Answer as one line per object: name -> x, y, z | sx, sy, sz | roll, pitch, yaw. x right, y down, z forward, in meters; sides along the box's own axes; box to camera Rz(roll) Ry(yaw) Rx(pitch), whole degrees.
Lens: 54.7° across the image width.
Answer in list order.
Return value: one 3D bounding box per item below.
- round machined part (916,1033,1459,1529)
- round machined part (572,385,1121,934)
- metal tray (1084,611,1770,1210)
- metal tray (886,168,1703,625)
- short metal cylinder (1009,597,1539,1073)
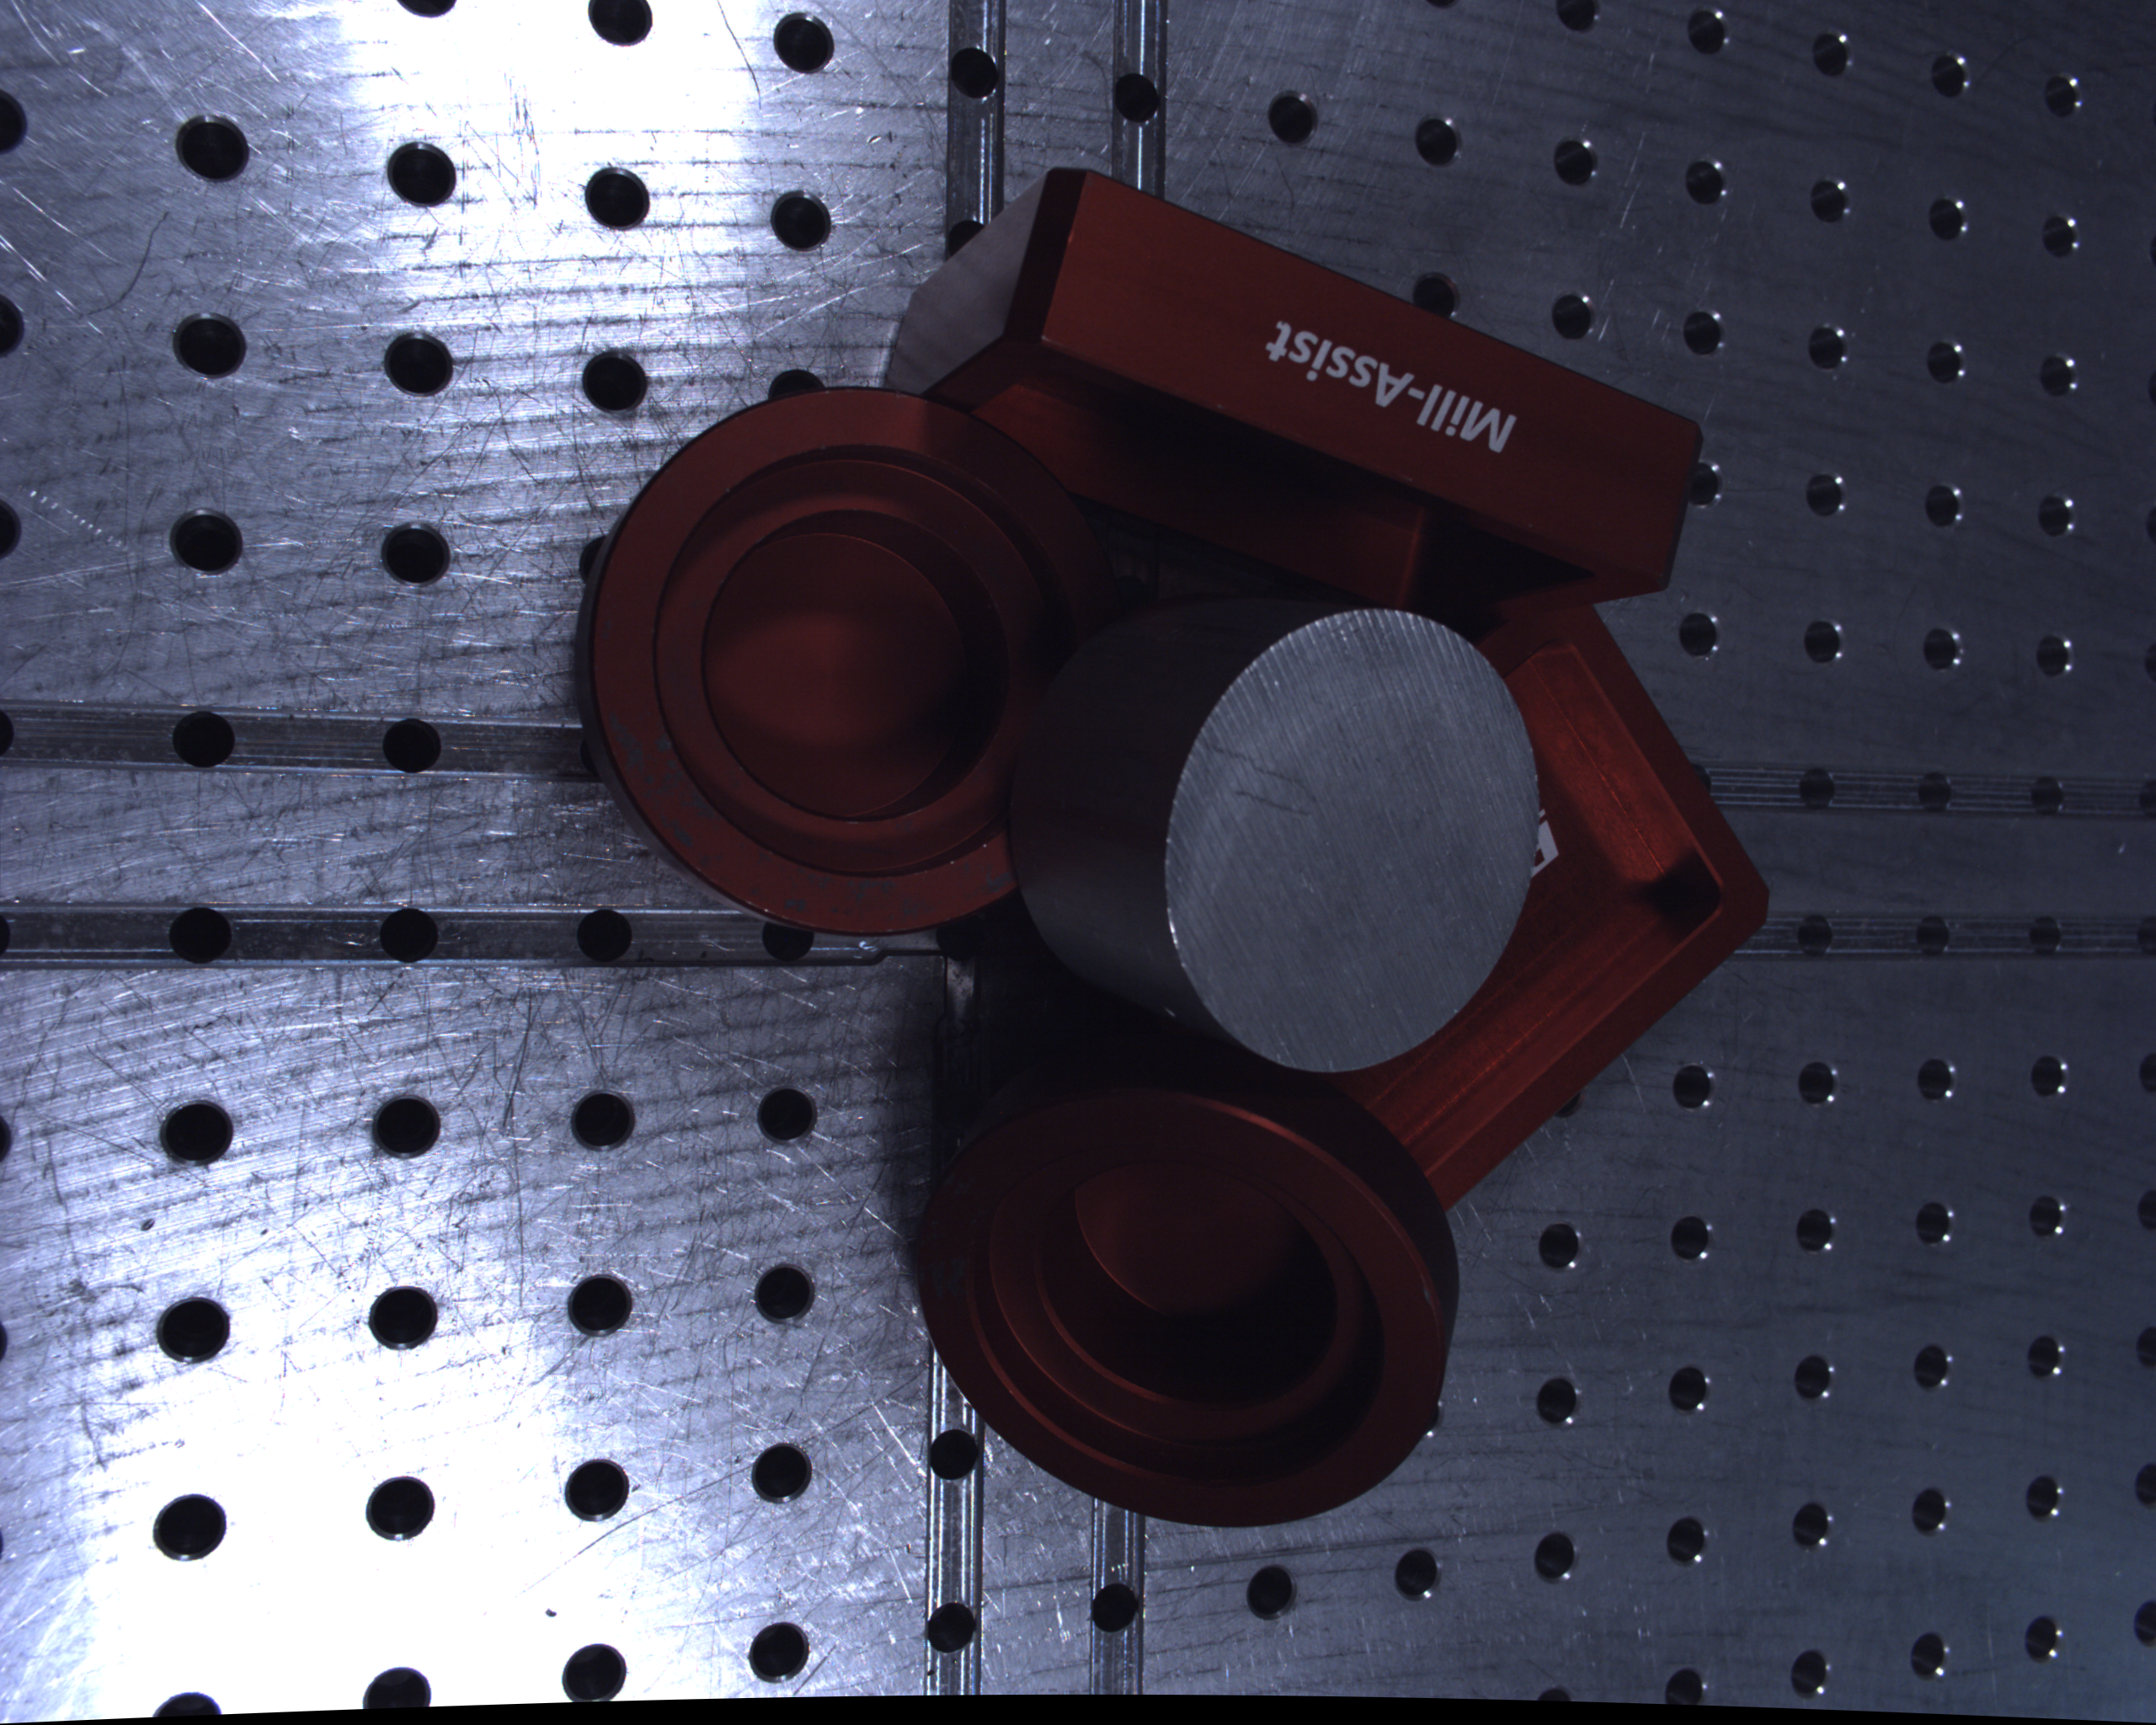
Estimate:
round machined part -> 0.023, 0.074, 0.395 | 0.098, 0.042, 0.097 | 7, 117, 14
round machined part -> -0.044, -0.036, 0.388 | 0.099, 0.042, 0.097 | 0, 90, -21
metal tray -> 0.073, 0.013, 0.438 | 0.131, 0.030, 0.090 | -38, 103, -16
metal tray -> 0.037, -0.081, 0.392 | 0.131, 0.090, 0.030 | 16, 85, -20
short metal cylinder -> 0.035, -0.007, 0.374 | 0.081, 0.050, 0.079 | -7, 102, -31
